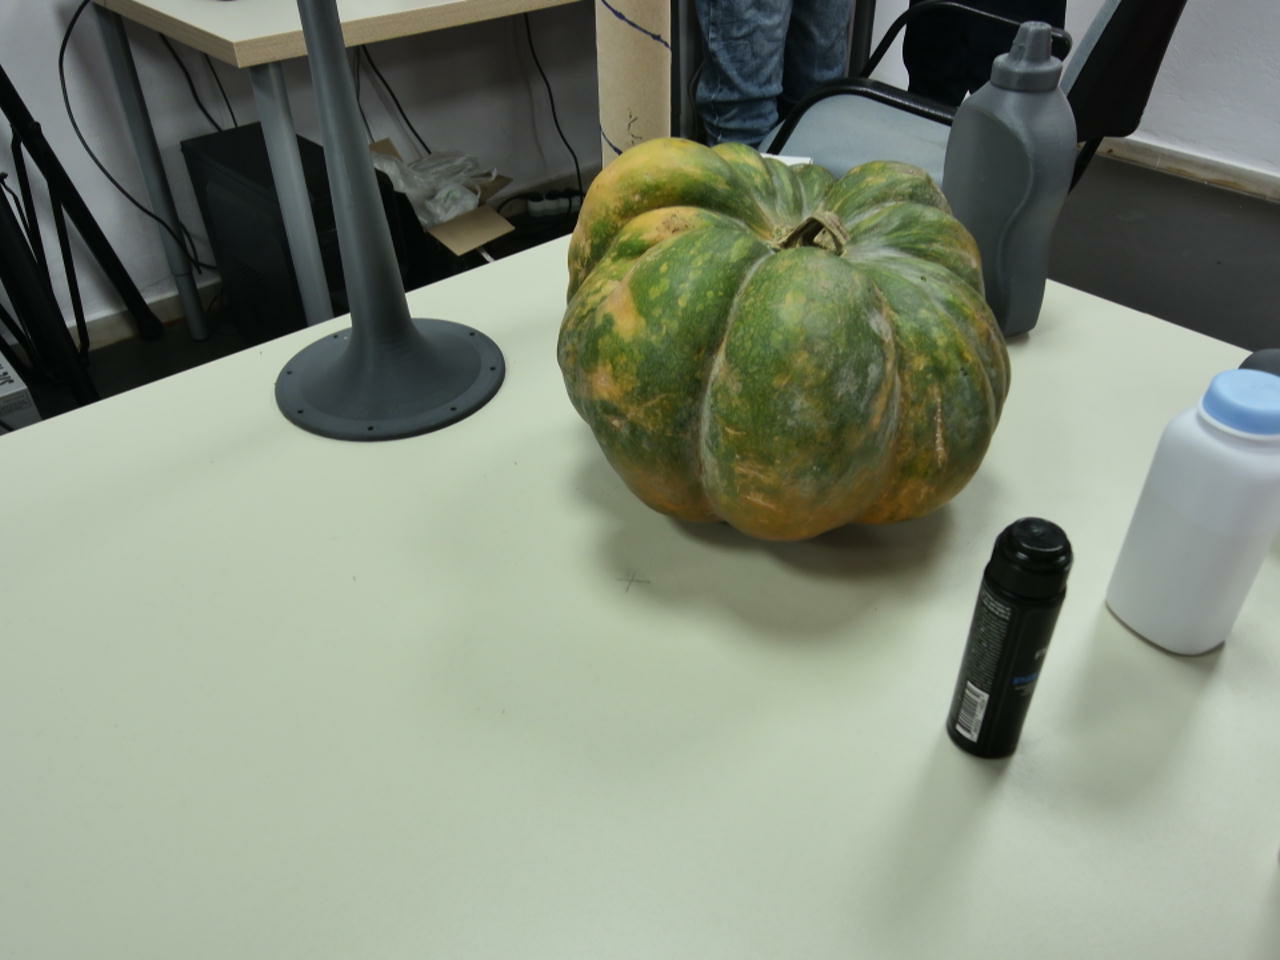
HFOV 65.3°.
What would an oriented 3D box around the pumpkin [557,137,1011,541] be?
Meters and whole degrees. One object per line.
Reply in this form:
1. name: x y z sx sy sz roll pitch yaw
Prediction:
1. pumpkin: 0.076 -0.081 0.536 0.237 0.173 0.270 -2 36 -2
